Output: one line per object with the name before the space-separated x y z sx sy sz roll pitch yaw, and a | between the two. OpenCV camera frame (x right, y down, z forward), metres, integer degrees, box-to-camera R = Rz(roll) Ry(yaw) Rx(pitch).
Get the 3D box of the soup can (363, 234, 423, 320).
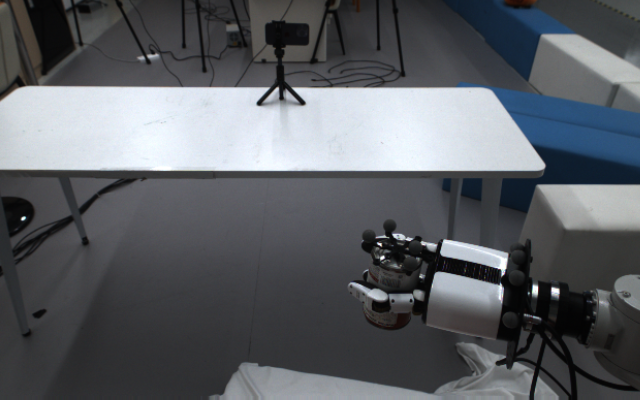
soup can | 0.097 0.111 0.639 0.067 0.101 0.067 3 30 -2
